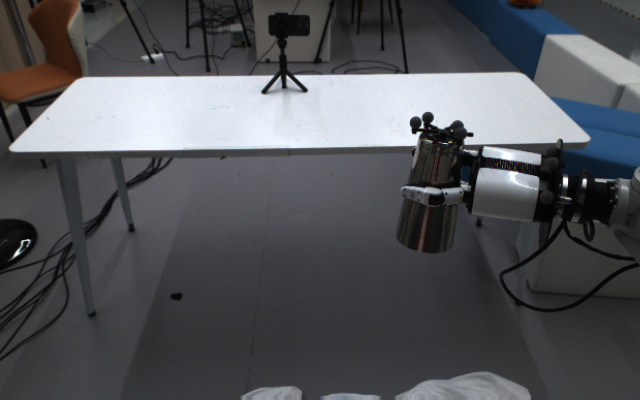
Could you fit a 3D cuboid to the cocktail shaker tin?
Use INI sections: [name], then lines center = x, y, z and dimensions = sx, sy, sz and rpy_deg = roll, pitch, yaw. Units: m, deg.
[cocktail shaker tin]
center = 0.173, -0.017, 0.743
dimensions = 0.093, 0.170, 0.093
rpy_deg = 3, 26, -1
